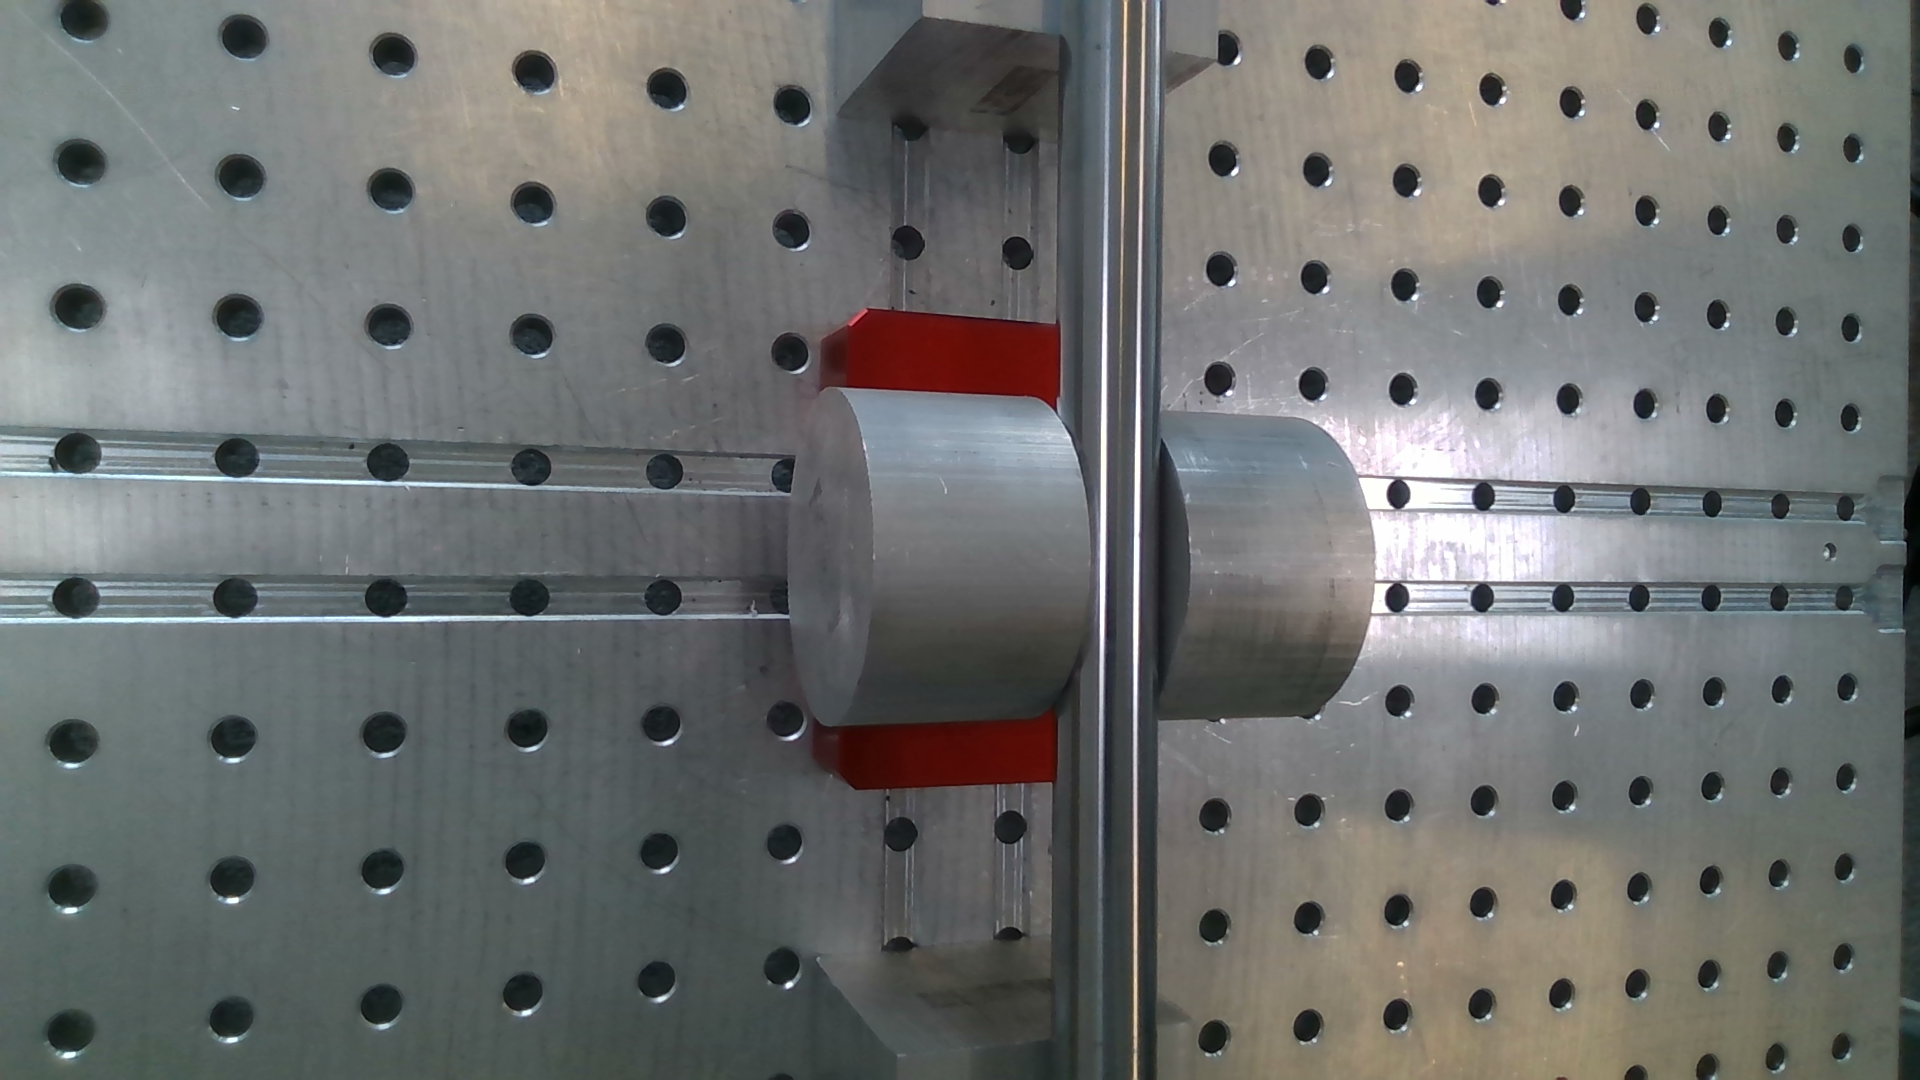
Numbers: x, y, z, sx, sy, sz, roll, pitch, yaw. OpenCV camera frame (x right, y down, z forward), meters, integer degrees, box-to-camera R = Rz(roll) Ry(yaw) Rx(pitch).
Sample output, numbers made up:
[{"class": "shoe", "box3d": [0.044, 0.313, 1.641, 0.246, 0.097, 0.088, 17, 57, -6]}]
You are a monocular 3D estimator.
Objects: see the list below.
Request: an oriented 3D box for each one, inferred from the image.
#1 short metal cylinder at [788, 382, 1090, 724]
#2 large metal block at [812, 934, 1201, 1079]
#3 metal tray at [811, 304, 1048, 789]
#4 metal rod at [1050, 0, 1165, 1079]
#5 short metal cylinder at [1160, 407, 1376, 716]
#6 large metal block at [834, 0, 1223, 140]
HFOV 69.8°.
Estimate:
[{"class": "short metal cylinder", "box3d": [-0.009, 0.003, 0.332, 0.050, 0.080, 0.080, 1, 90, -20]}, {"class": "large metal block", "box3d": [0.009, 0.144, 0.370, 0.080, 0.080, 0.050, 1, 90, -20]}, {"class": "metal tray", "box3d": [0.006, 0.003, 0.396, 0.090, 0.030, 0.130, 1, 90, -20]}, {"class": "metal rod", "box3d": [0.035, -0.003, 0.324, 0.025, 0.025, 0.300, 0, 90, -20]}, {"class": "short metal cylinder", "box3d": [0.062, 0.006, 0.358, 0.050, 0.080, 0.080, 1, 90, -20]}, {"class": "large metal block", "box3d": [0.015, -0.147, 0.371, 0.080, 0.080, 0.050, 1, 90, -20]}]
